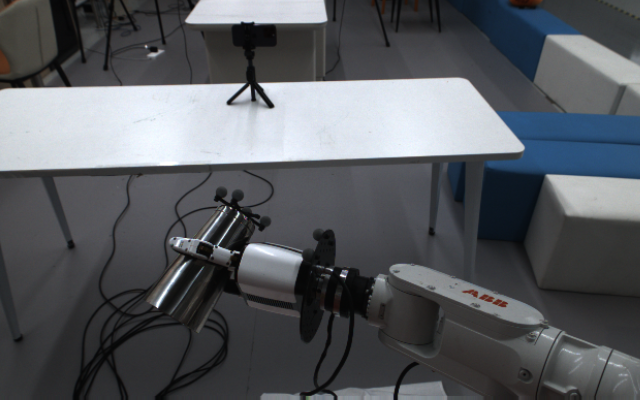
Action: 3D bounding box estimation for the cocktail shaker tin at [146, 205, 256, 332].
[{"bbox_3d":[-0.165,0.091,0.699,0.093,0.093,0.170,20,67,24],"label":"cocktail shaker tin"}]
